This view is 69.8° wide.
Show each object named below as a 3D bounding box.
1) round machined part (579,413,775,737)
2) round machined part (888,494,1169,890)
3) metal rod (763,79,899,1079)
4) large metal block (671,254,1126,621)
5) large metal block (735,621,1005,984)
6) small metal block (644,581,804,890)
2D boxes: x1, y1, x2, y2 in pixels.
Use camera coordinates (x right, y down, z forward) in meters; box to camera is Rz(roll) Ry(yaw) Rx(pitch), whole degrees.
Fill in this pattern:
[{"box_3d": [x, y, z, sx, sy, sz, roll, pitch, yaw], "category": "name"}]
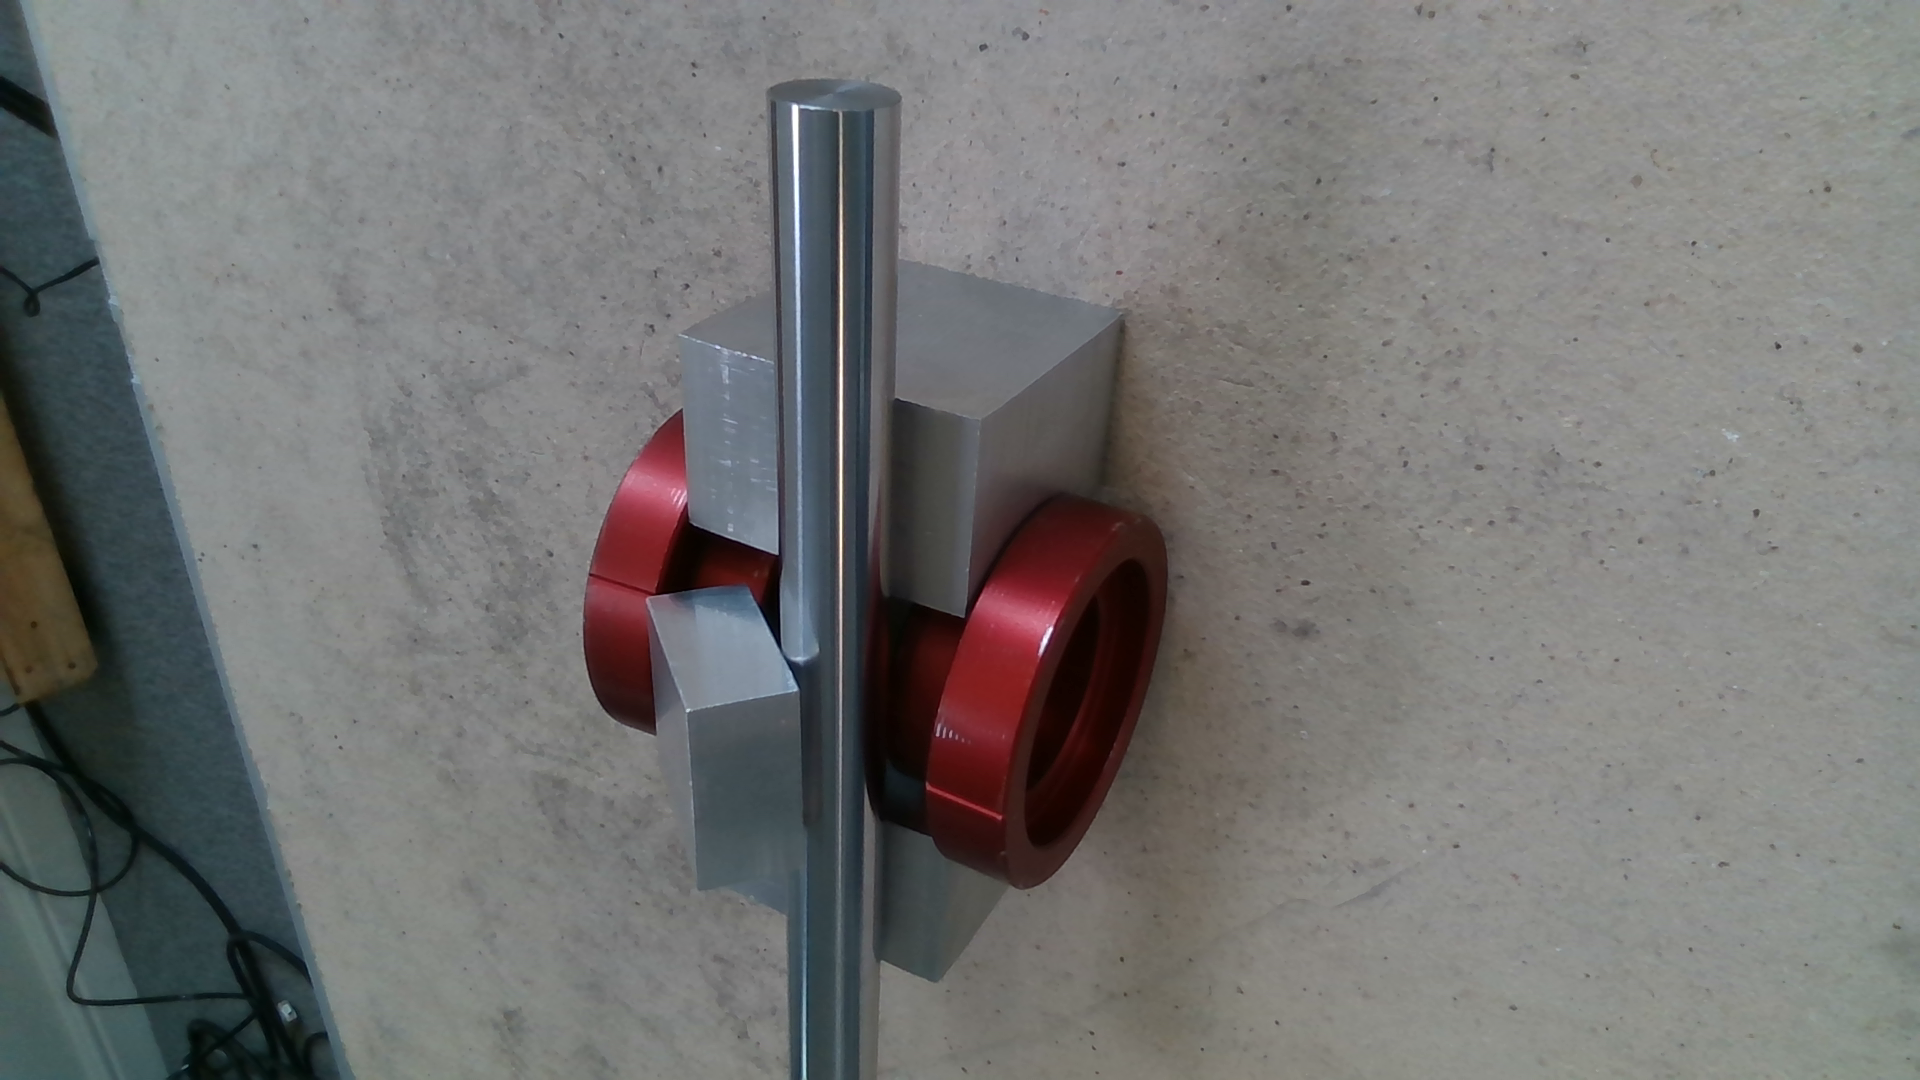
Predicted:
[{"box_3d": [-0.059, 0.011, 0.384, 0.042, 0.098, 0.098, 16, 122, 18], "category": "round machined part"}, {"box_3d": [0.015, 0.035, 0.352, 0.042, 0.098, 0.098, 18, 123, 24], "category": "round machined part"}, {"box_3d": [-0.031, 0.047, 0.331, 0.025, 0.025, 0.301, 17, 123, 23], "category": "metal rod"}, {"box_3d": [-0.014, -0.032, 0.345, 0.080, 0.080, 0.050, 18, 123, 23], "category": "large metal block"}, {"box_3d": [-0.021, 0.070, 0.405, 0.080, 0.080, 0.050, 18, 123, 23], "category": "large metal block"}, {"box_3d": [-0.056, 0.045, 0.328, 0.050, 0.025, 0.050, -129, 36, -55], "category": "small metal block"}]
